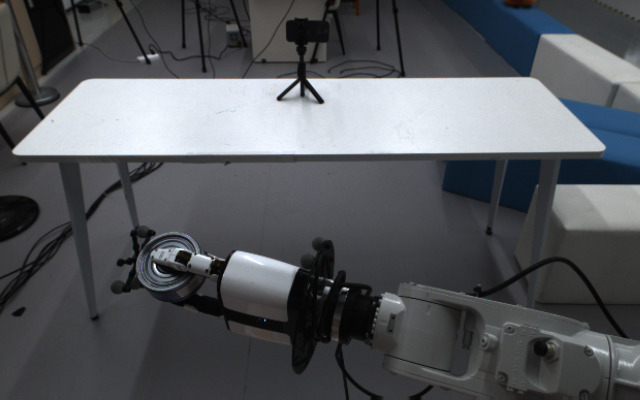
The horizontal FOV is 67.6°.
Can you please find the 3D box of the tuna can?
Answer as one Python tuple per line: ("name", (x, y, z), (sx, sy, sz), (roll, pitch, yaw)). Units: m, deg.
("tuna can", (-0.186, 0.085, 0.618), (0.085, 0.034, 0.085), (-2, 58, 3))
